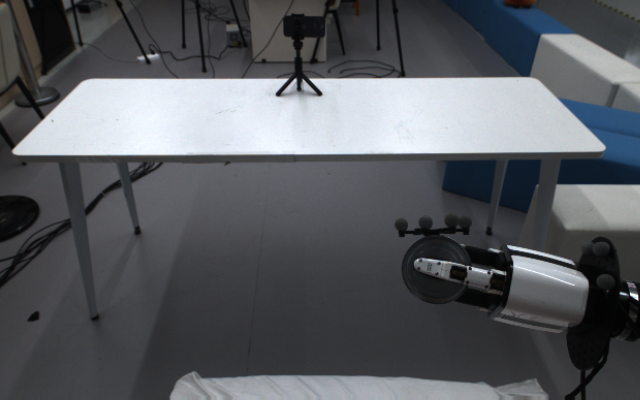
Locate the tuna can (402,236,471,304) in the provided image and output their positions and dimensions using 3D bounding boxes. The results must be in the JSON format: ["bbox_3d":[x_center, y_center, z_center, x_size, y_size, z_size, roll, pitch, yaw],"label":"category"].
[{"bbox_3d":[0.148,0.085,0.611,0.085,0.034,0.085,-2,78,10],"label":"tuna can"}]
